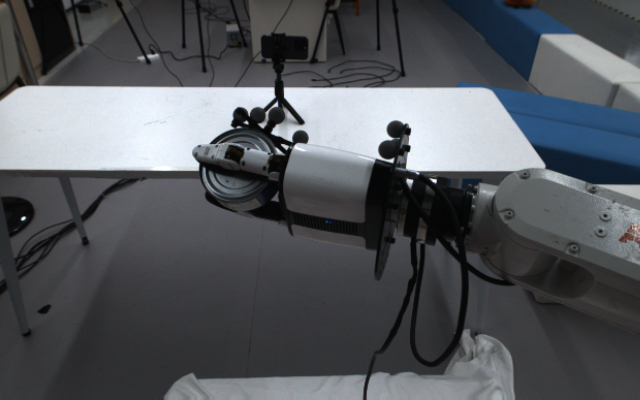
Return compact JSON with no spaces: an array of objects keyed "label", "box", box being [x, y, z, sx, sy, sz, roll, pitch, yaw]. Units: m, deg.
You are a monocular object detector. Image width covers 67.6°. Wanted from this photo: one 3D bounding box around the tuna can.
[{"label":"tuna can","box":[-0.081,-0.033,0.521,0.085,0.034,0.085,-4,67,10]}]
